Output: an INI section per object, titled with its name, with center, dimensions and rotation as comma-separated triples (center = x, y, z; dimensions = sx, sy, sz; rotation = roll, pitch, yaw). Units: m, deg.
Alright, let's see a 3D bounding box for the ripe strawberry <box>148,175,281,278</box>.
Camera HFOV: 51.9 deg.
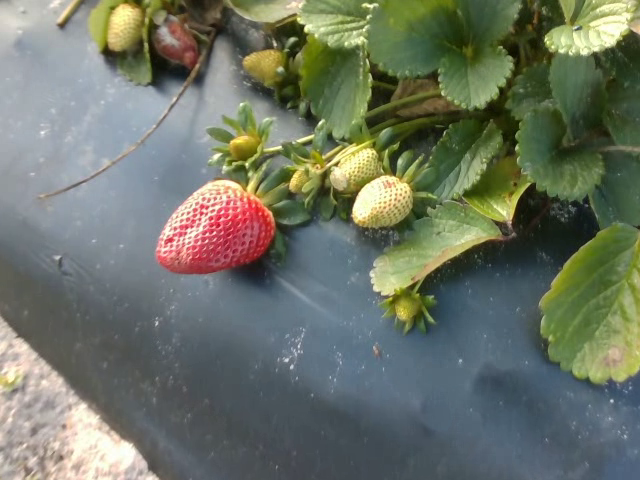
[ripe strawberry]
center = -0.060, -0.005, 0.354
dimensions = 0.052, 0.044, 0.068
rotation = 36, 54, 15
